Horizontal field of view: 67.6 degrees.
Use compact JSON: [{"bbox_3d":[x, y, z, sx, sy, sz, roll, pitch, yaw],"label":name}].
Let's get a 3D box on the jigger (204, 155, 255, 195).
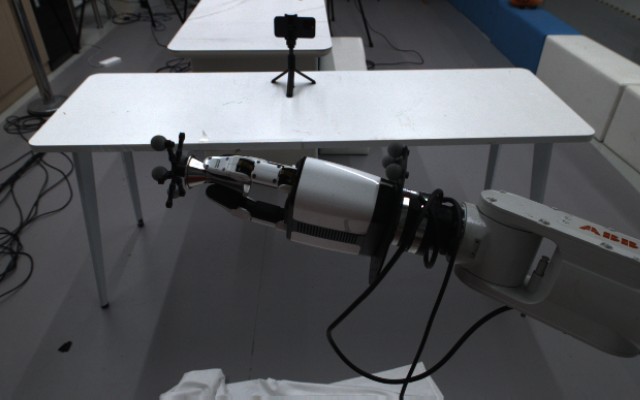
[{"bbox_3d":[-0.111,-0.032,0.558,0.071,0.043,0.043,6,35,2],"label":"jigger"}]
